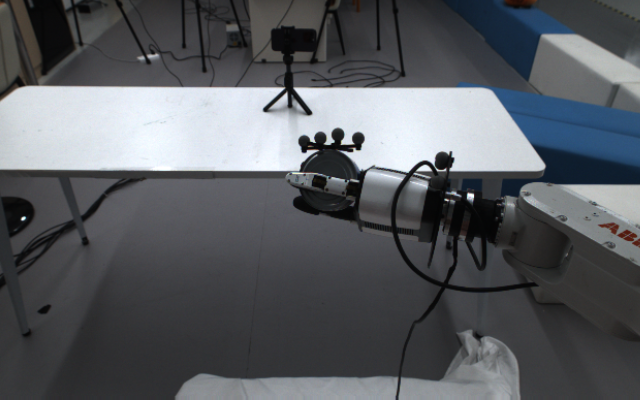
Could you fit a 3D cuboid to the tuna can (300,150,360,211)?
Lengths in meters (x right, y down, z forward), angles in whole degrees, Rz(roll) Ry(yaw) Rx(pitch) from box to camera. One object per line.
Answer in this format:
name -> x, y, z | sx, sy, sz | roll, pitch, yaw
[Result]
tuna can -> 0.015, -0.027, 0.682 | 0.085, 0.085, 0.034 | 15, 1, 18
